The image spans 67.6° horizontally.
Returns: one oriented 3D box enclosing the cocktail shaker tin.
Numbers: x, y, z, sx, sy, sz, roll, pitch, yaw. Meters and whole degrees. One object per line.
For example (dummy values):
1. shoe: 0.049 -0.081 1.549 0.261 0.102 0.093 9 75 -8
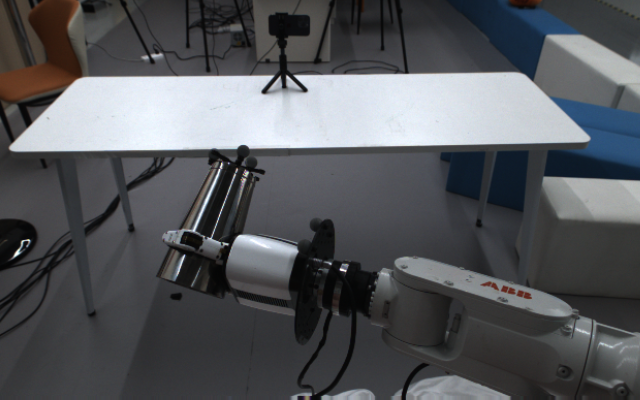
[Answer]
1. cocktail shaker tin: -0.146 0.038 0.654 0.093 0.093 0.170 13 73 16
